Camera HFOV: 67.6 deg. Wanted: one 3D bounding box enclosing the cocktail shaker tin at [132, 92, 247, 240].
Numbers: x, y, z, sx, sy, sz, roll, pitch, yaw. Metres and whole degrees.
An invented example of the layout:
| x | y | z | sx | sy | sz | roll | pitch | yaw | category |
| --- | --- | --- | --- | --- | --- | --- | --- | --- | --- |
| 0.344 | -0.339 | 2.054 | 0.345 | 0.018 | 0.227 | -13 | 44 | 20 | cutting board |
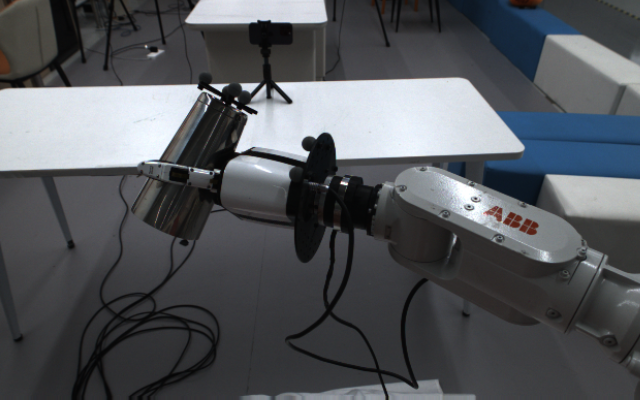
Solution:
| x | y | z | sx | sy | sz | roll | pitch | yaw | category |
| --- | --- | --- | --- | --- | --- | --- | --- | --- | --- |
| -0.159 | -0.048 | 0.615 | 0.093 | 0.170 | 0.093 | 27 | 2 | -1 | cocktail shaker tin |
